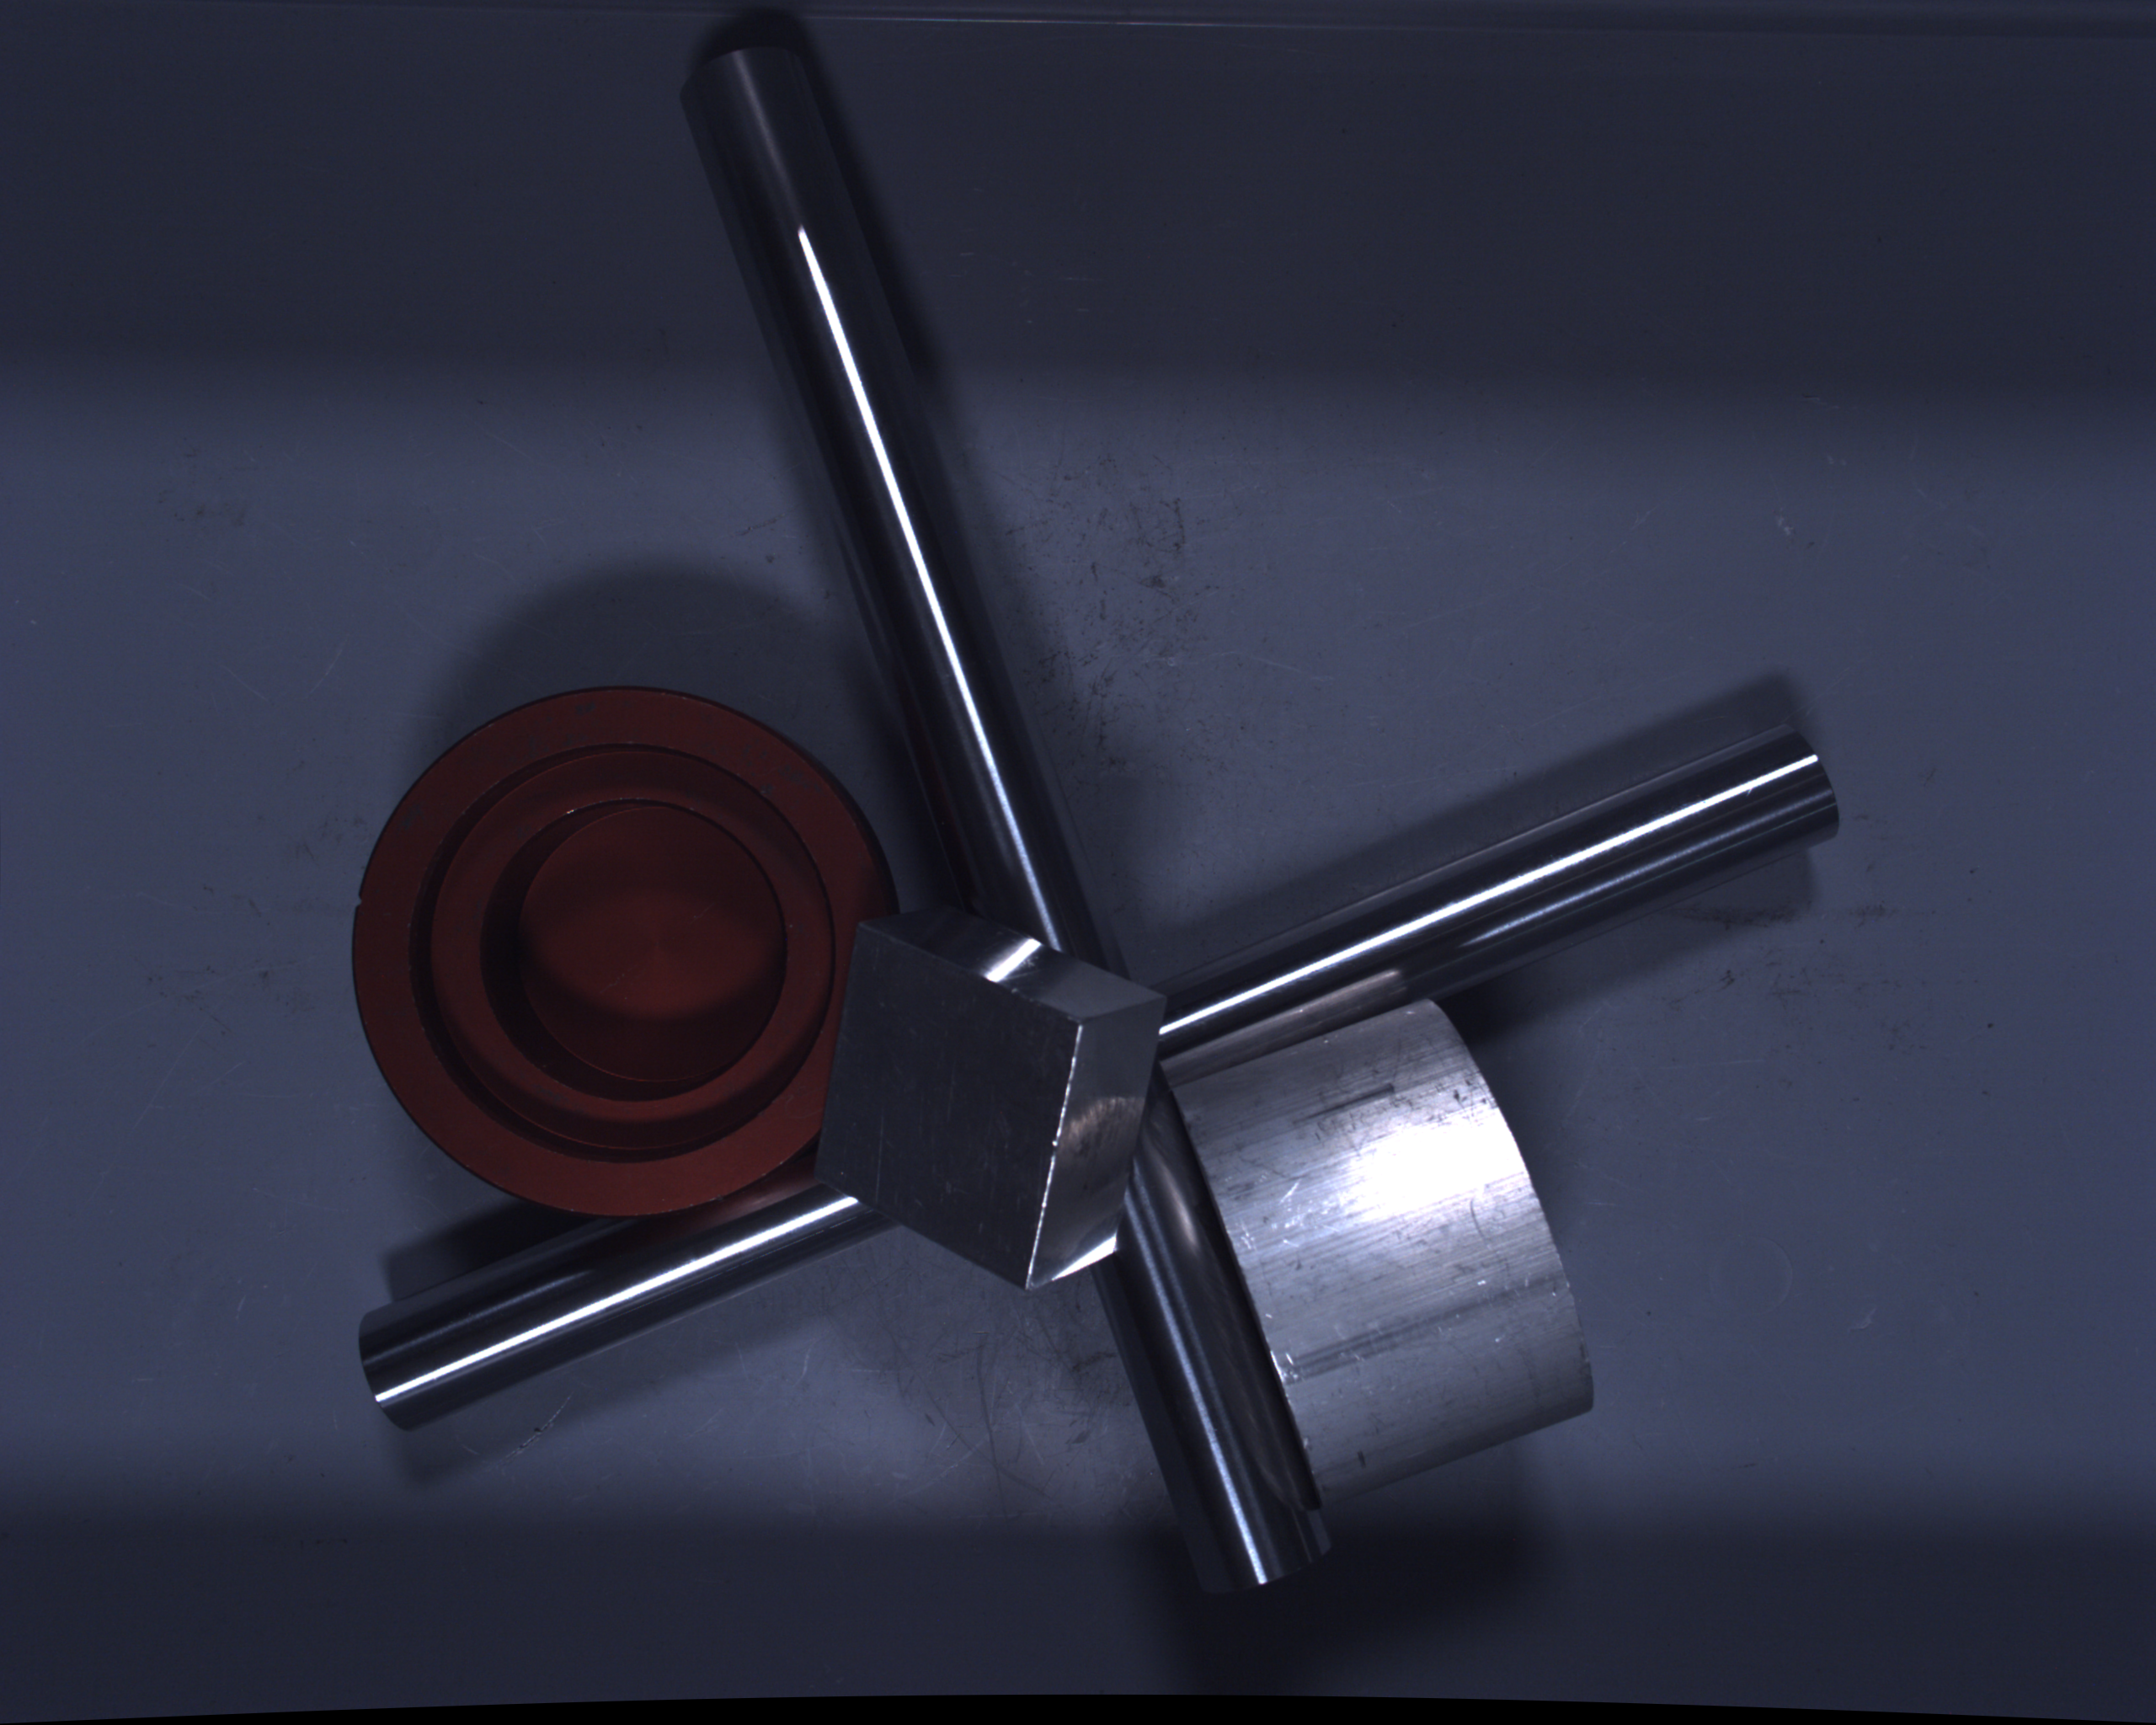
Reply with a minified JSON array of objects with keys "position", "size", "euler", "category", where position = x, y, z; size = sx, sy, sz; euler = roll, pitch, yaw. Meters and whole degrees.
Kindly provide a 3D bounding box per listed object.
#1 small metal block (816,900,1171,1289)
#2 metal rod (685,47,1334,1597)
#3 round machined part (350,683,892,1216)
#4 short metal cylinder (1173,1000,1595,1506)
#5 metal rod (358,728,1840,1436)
[{"position":[-0.016,0.039,0.369],"size":[0.050,0.025,0.050],"euler":[21,109,32],"category":"small metal block"},{"position":[-0.015,-0.013,0.392],"size":[0.025,0.025,0.299],"euler":[-19,83,0],"category":"metal rod"},{"position":[-0.084,0.016,0.401],"size":[0.099,0.042,0.097],"euler":[0,90,-1],"category":"round machined part"},{"position":[0.054,0.071,0.383],"size":[0.050,0.080,0.080],"euler":[-20,90,0],"category":"short metal cylinder"},{"position":[0.005,0.043,0.410],"size":[0.301,0.025,0.025],"euler":[-23,90,-1],"category":"metal rod"}]
